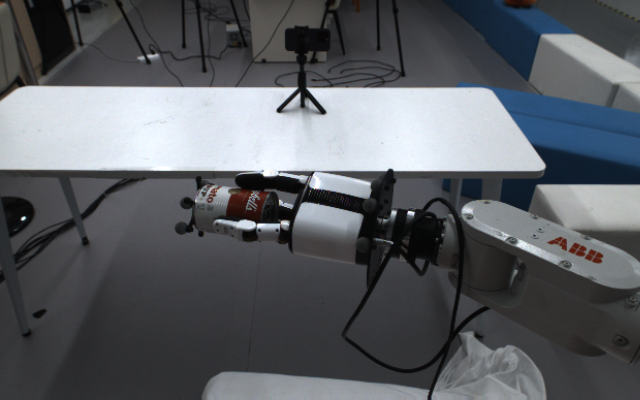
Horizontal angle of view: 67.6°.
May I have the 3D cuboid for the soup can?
[{"bbox_3d":[-0.113,0.017,0.666,0.101,0.067,0.067,6,35,12],"label":"soup can"}]
